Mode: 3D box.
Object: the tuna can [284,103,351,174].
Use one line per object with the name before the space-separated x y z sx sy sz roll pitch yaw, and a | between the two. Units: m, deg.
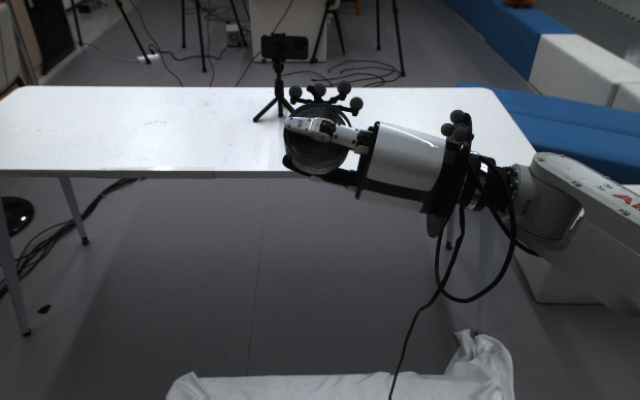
tuna can | -0.003 -0.078 0.607 0.085 0.034 0.085 1 73 -3
